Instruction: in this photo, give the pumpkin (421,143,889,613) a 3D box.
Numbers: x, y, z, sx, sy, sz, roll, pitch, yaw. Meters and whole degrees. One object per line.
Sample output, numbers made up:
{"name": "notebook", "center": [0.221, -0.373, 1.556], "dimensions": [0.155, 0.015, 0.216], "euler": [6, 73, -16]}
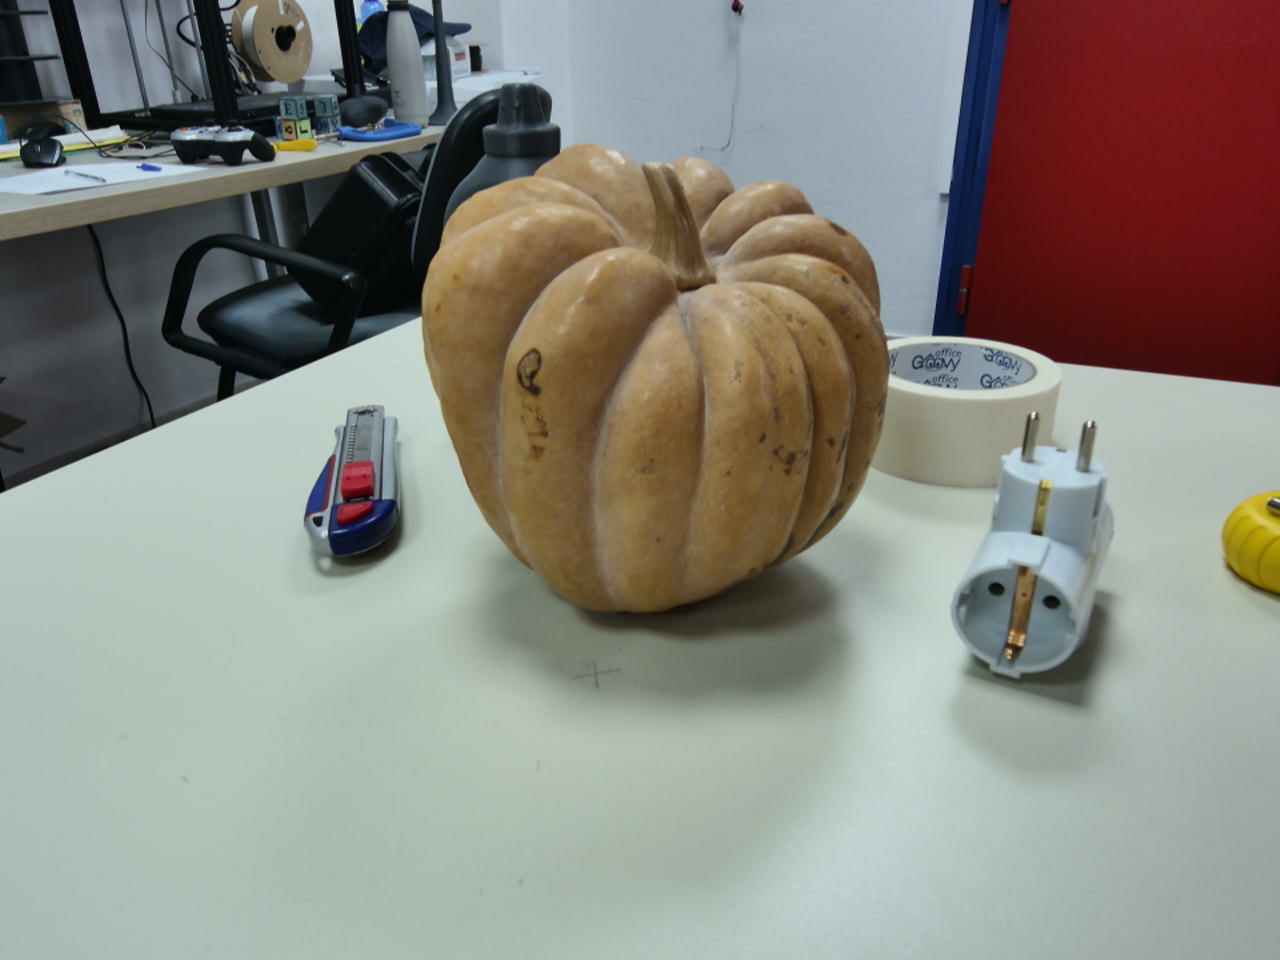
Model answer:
{"name": "pumpkin", "center": [0.005, -0.043, 0.416], "dimensions": [0.199, 0.177, 0.198], "euler": [0, 24, 0]}
